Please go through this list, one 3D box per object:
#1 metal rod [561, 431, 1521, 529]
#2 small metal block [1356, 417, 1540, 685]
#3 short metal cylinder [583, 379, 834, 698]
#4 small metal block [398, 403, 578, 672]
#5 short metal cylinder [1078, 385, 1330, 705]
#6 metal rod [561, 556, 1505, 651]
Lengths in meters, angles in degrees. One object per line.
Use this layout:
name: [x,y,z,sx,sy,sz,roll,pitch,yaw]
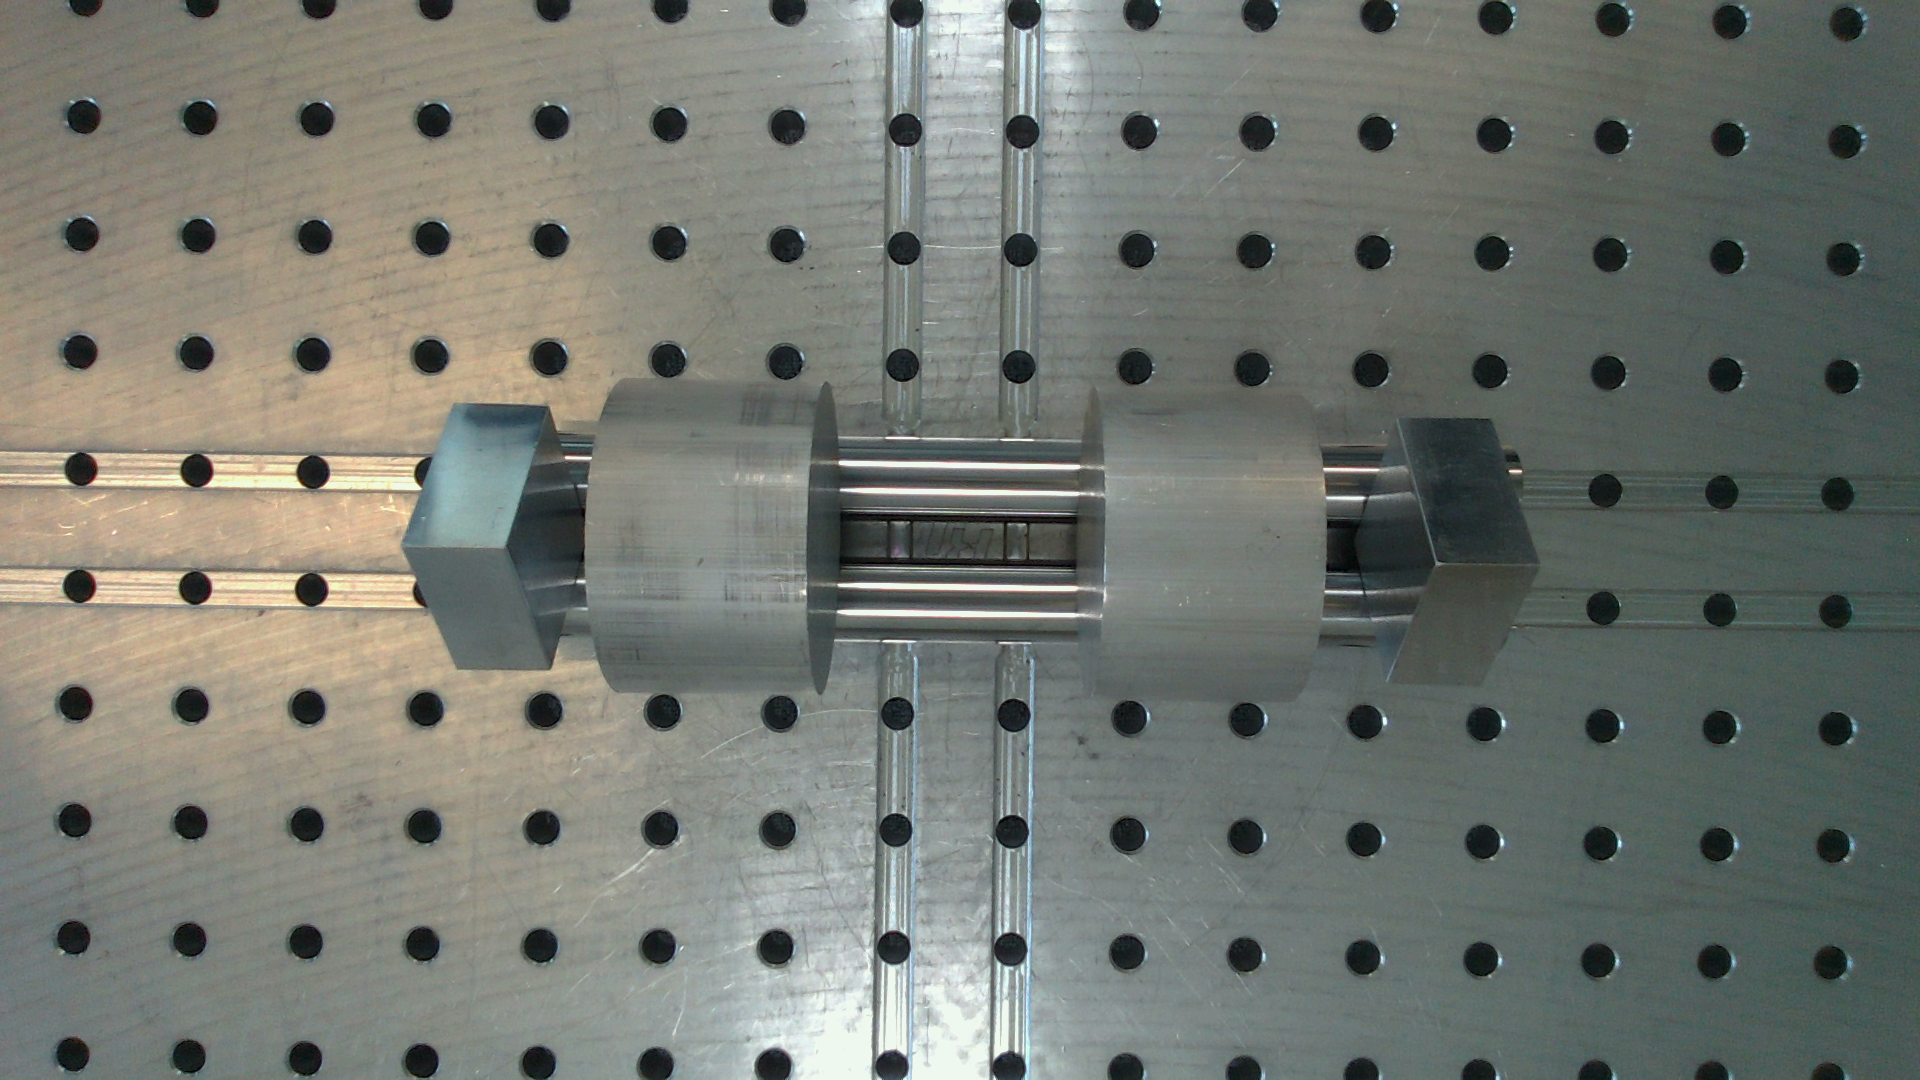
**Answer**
metal rod: [0.007,-0.017,0.398,0.300,0.025,0.025,1,90,0]
small metal block: [0.126,0.003,0.363,0.025,0.050,0.050,1,49,1]
short metal cylinder: [-0.059,-0.001,0.348,0.050,0.080,0.080,1,90,0]
small metal block: [-0.121,0.000,0.362,0.025,0.050,0.050,1,48,0]
short metal cylinder: [0.058,0.001,0.348,0.050,0.080,0.080,1,90,0]
metal rod: [0.004,0.018,0.398,0.300,0.025,0.025,1,90,0]
